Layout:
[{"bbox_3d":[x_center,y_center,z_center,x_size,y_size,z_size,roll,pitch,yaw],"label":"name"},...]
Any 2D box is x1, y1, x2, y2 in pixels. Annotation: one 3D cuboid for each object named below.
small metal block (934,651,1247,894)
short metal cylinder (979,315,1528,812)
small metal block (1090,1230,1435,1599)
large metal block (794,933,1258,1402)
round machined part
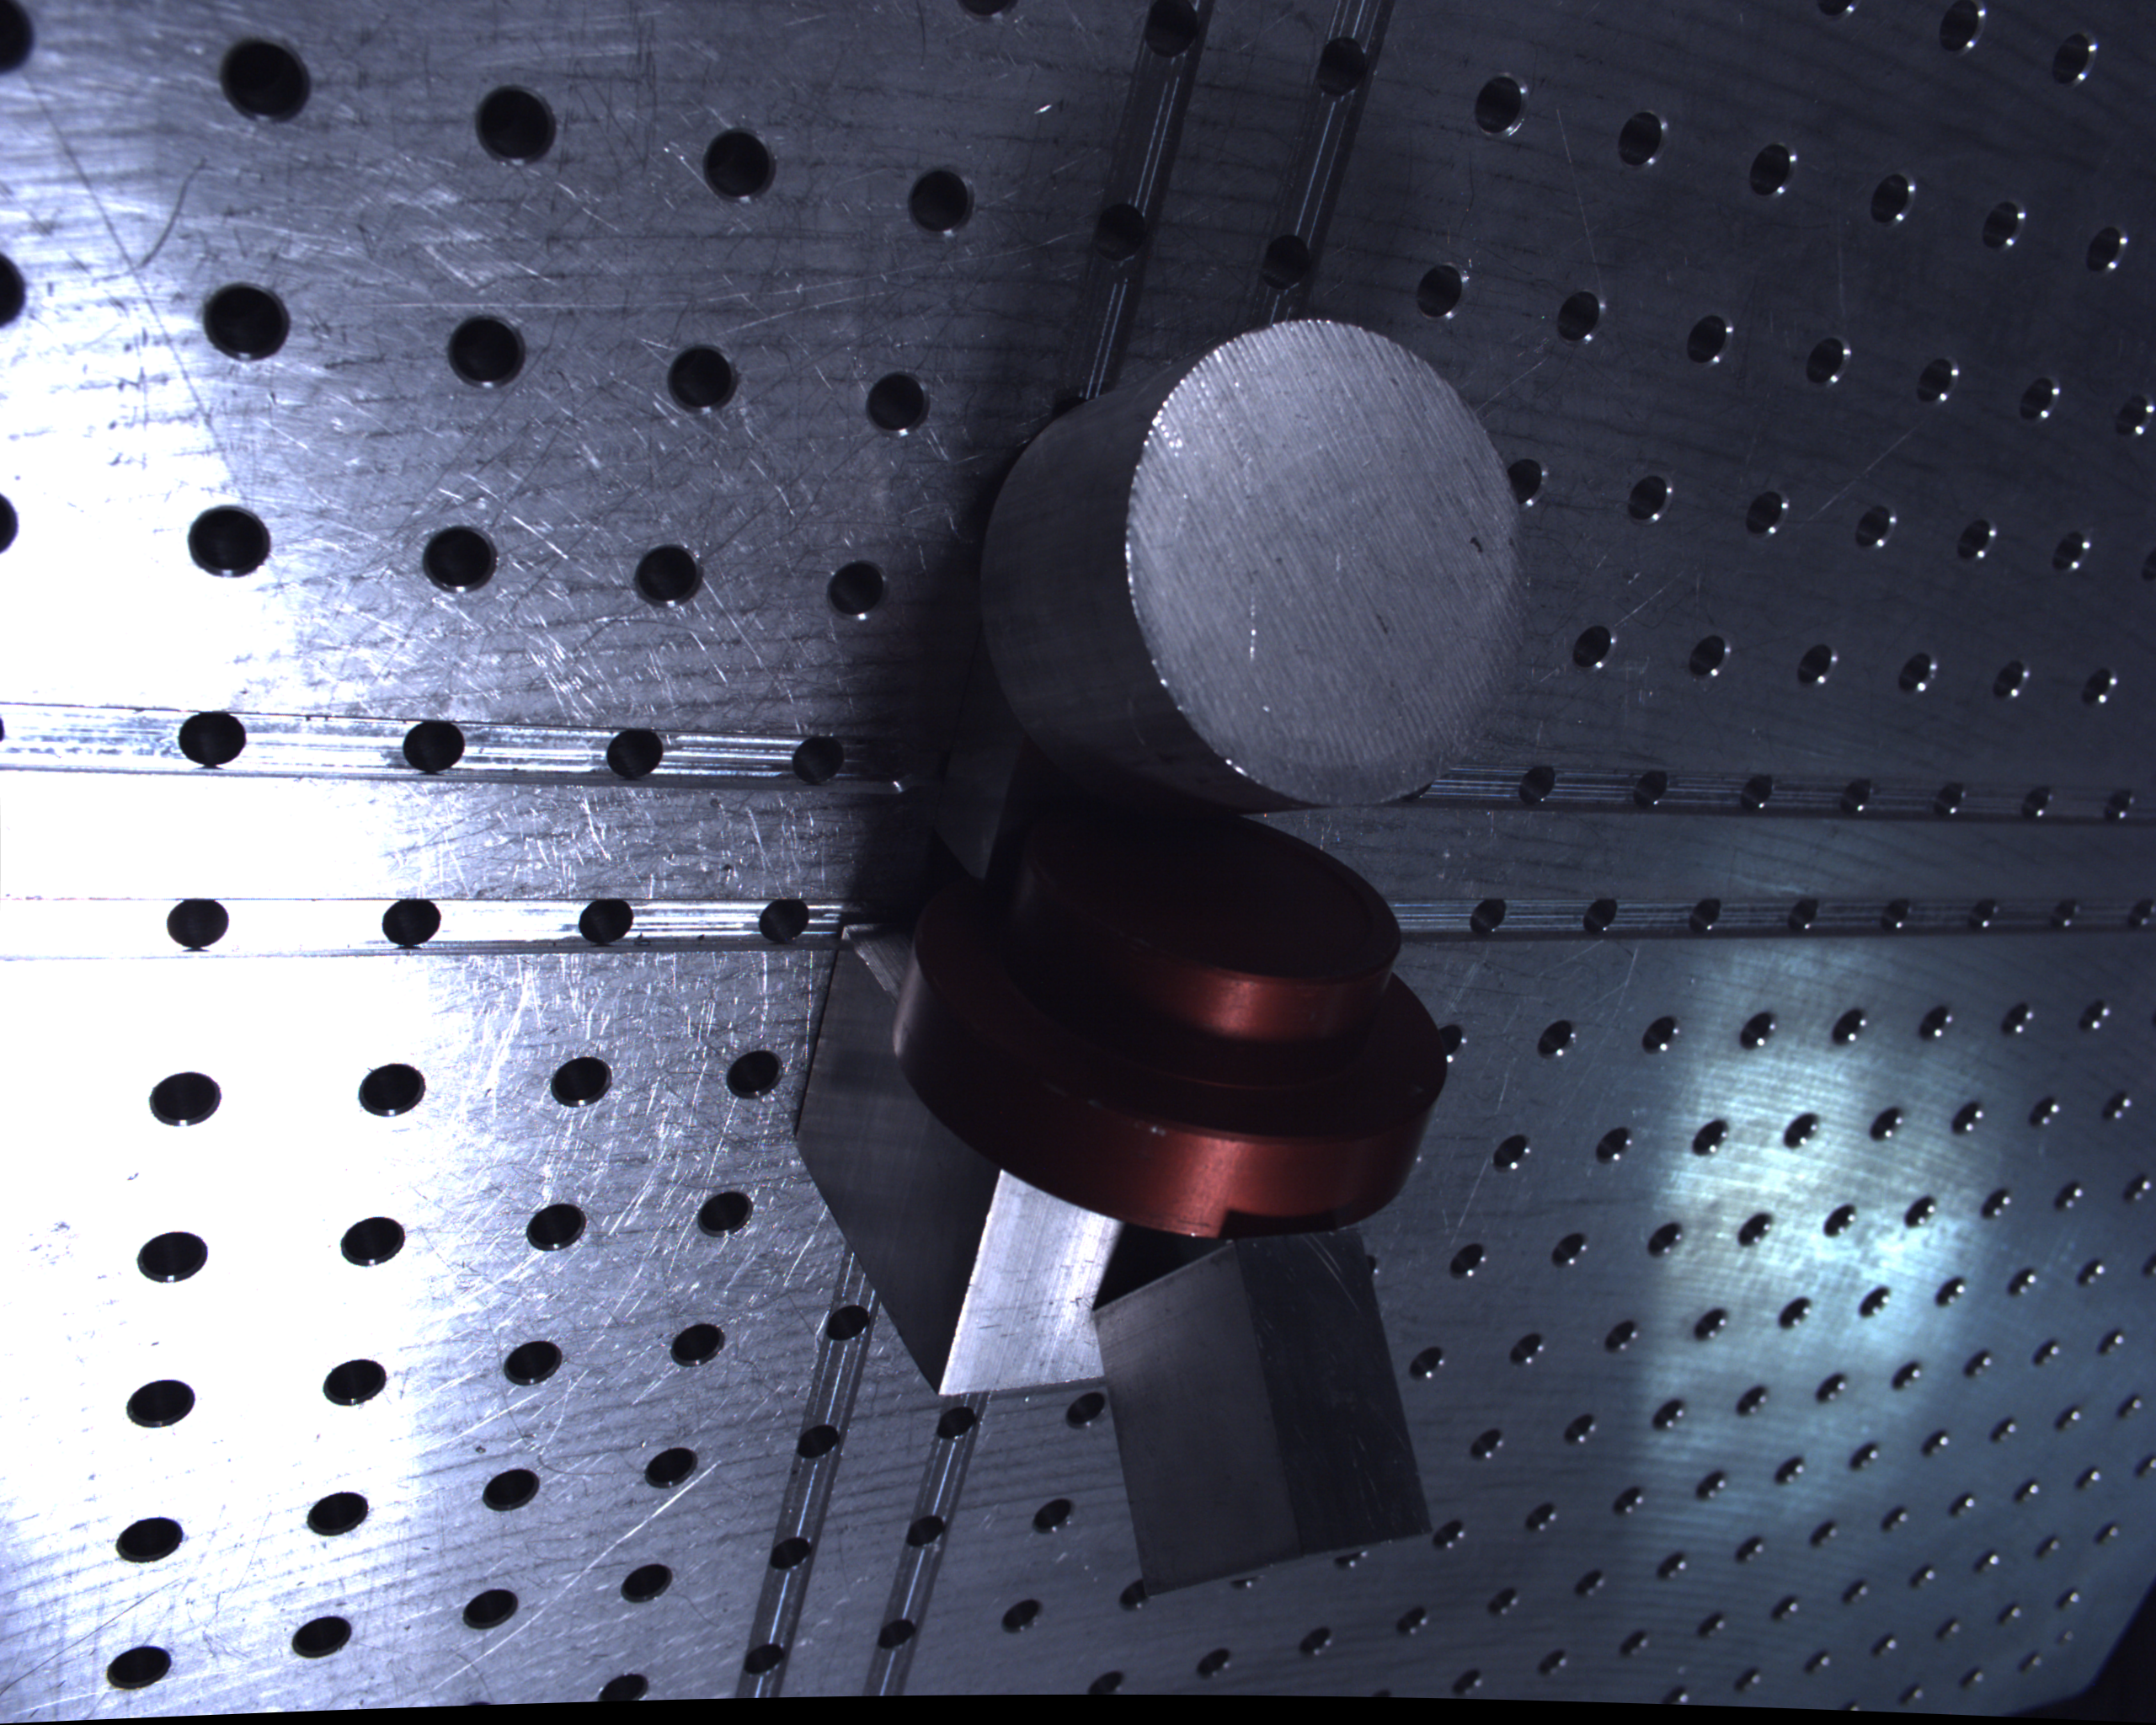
[{"bbox_3d":[0.005,-0.022,0.401,0.050,0.025,0.050,1,118,-29],"label":"small metal block"},{"bbox_3d":[0.030,-0.049,0.361,0.081,0.050,0.080,1,88,-29],"label":"short metal cylinder"},{"bbox_3d":[0.029,0.094,0.353,0.025,0.050,0.050,1,156,-30],"label":"small metal block"},{"bbox_3d":[-0.001,0.055,0.410,0.081,0.080,0.050,1,118,-29],"label":"large metal block"},{"bbox_3d":[0.019,0.022,0.376,0.099,0.098,0.042,1,118,-29],"label":"round machined part"}]
